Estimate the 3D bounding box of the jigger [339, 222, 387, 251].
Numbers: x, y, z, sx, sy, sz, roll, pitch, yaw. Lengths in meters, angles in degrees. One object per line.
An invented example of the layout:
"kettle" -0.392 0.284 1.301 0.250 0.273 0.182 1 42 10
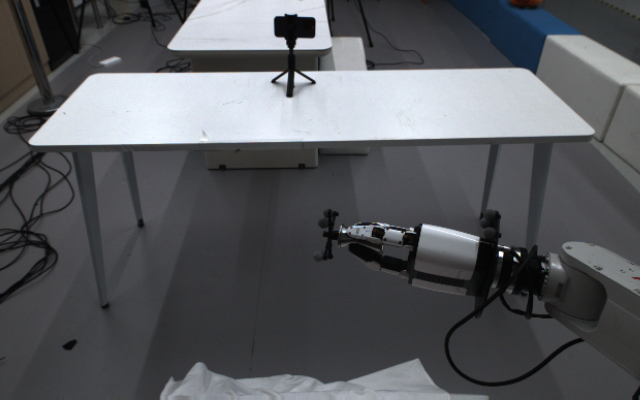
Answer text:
"jigger" 0.072 0.056 0.753 0.071 0.043 0.043 6 35 13
